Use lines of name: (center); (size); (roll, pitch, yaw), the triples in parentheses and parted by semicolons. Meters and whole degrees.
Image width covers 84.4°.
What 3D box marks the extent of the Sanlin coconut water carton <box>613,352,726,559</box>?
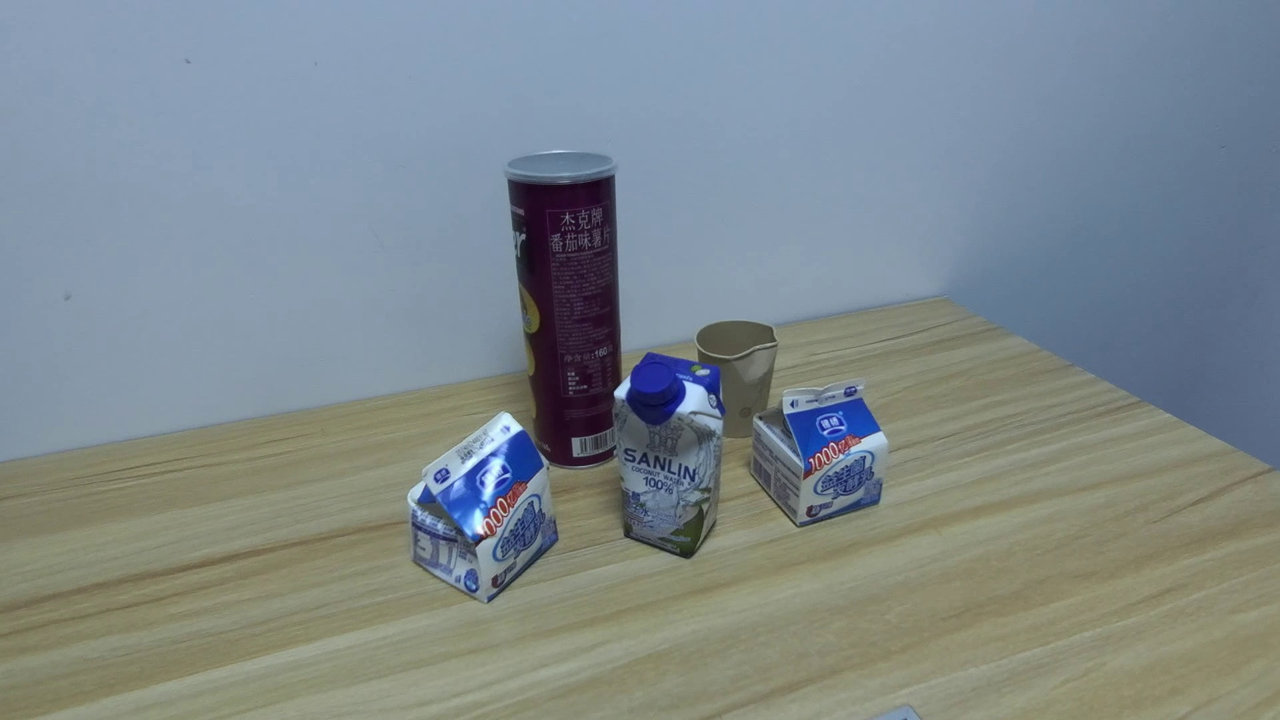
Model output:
Sanlin coconut water carton: (0.019, 0.059, 0.469); (0.077, 0.142, 0.058); (13, 35, 26)

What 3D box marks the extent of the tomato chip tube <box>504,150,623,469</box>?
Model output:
tomato chip tube: (-0.051, -0.033, 0.545); (0.078, 0.234, 0.078); (-1, 27, 1)

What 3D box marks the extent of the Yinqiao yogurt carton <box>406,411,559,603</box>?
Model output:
Yinqiao yogurt carton: (-0.105, 0.088, 0.469); (0.077, 0.093, 0.083); (17, 33, 31)

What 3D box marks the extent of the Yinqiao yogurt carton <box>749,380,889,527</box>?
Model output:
Yinqiao yogurt carton: (0.132, 0.057, 0.519); (0.076, 0.092, 0.073); (-10, 28, -19)

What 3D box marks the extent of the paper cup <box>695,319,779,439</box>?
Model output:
paper cup: (0.080, 0.018, 0.599); (0.069, 0.081, 0.073); (-1, 26, 2)
